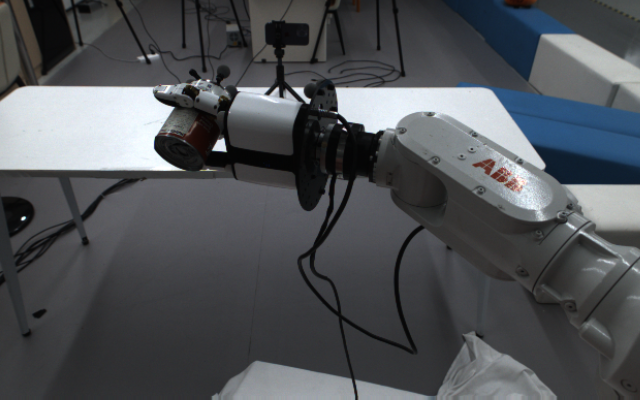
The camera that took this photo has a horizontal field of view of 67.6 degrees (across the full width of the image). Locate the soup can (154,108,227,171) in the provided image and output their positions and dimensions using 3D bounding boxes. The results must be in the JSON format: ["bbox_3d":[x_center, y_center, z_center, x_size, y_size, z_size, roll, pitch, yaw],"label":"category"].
[{"bbox_3d":[-0.160,-0.097,0.622,0.067,0.067,0.101,12,59,14],"label":"soup can"}]
